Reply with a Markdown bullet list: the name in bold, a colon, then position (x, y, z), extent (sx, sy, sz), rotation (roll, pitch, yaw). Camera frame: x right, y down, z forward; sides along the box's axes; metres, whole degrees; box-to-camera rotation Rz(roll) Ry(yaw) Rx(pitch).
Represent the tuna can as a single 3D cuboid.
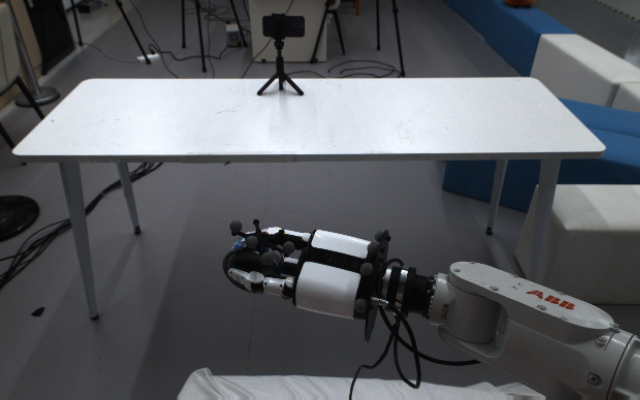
- **tuna can**: position (-0.095, 0.097, 0.712), extent (0.085, 0.085, 0.034), rotation (9, 35, 10)
